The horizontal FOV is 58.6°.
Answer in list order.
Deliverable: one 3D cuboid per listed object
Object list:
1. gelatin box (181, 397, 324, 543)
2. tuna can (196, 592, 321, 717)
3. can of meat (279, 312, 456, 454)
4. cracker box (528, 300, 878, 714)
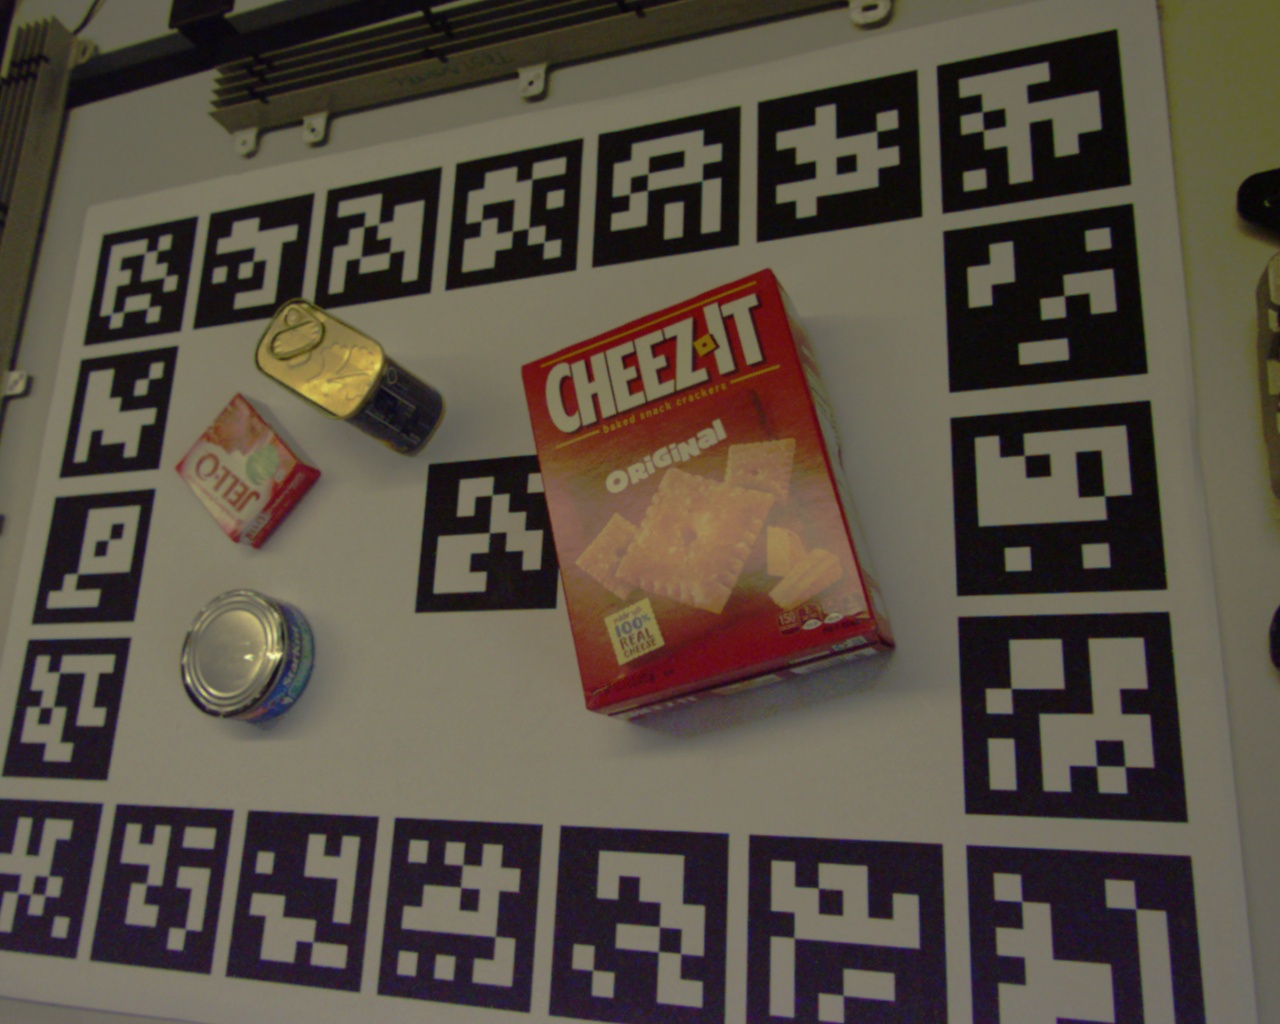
[{"bbox_3d":[-0.293,-0.032,0.863,0.090,0.030,0.073,41,89,25],"label":"gelatin box"},{"bbox_3d":[-0.269,0.101,0.806,0.086,0.033,0.086,-6,75,22],"label":"tuna can"},{"bbox_3d":[-0.193,-0.089,0.818,0.103,0.083,0.058,28,85,28],"label":"can of meat"},{"bbox_3d":[0.032,-0.003,0.702,0.165,0.071,0.215,-20,66,14],"label":"cracker box"}]
